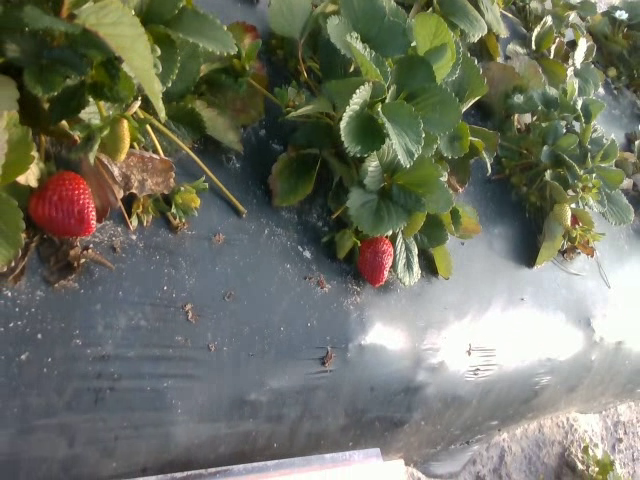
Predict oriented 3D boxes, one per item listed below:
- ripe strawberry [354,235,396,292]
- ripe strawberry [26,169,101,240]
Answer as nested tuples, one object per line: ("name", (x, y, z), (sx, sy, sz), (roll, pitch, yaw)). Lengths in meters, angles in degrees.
("ripe strawberry", (0.033, 0.014, 0.362), (0.029, 0.036, 0.021), (7, -20, -29))
("ripe strawberry", (-0.108, -0.012, 0.261), (0.031, 0.030, 0.026), (-39, -6, -33))
